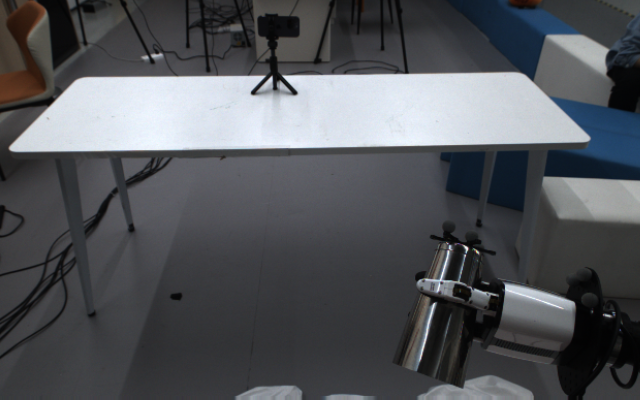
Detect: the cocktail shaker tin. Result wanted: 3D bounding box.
[{"bbox_3d":[0.163,0.145,0.636,0.093,0.093,0.170,16,74,19],"label":"cocktail shaker tin"}]
